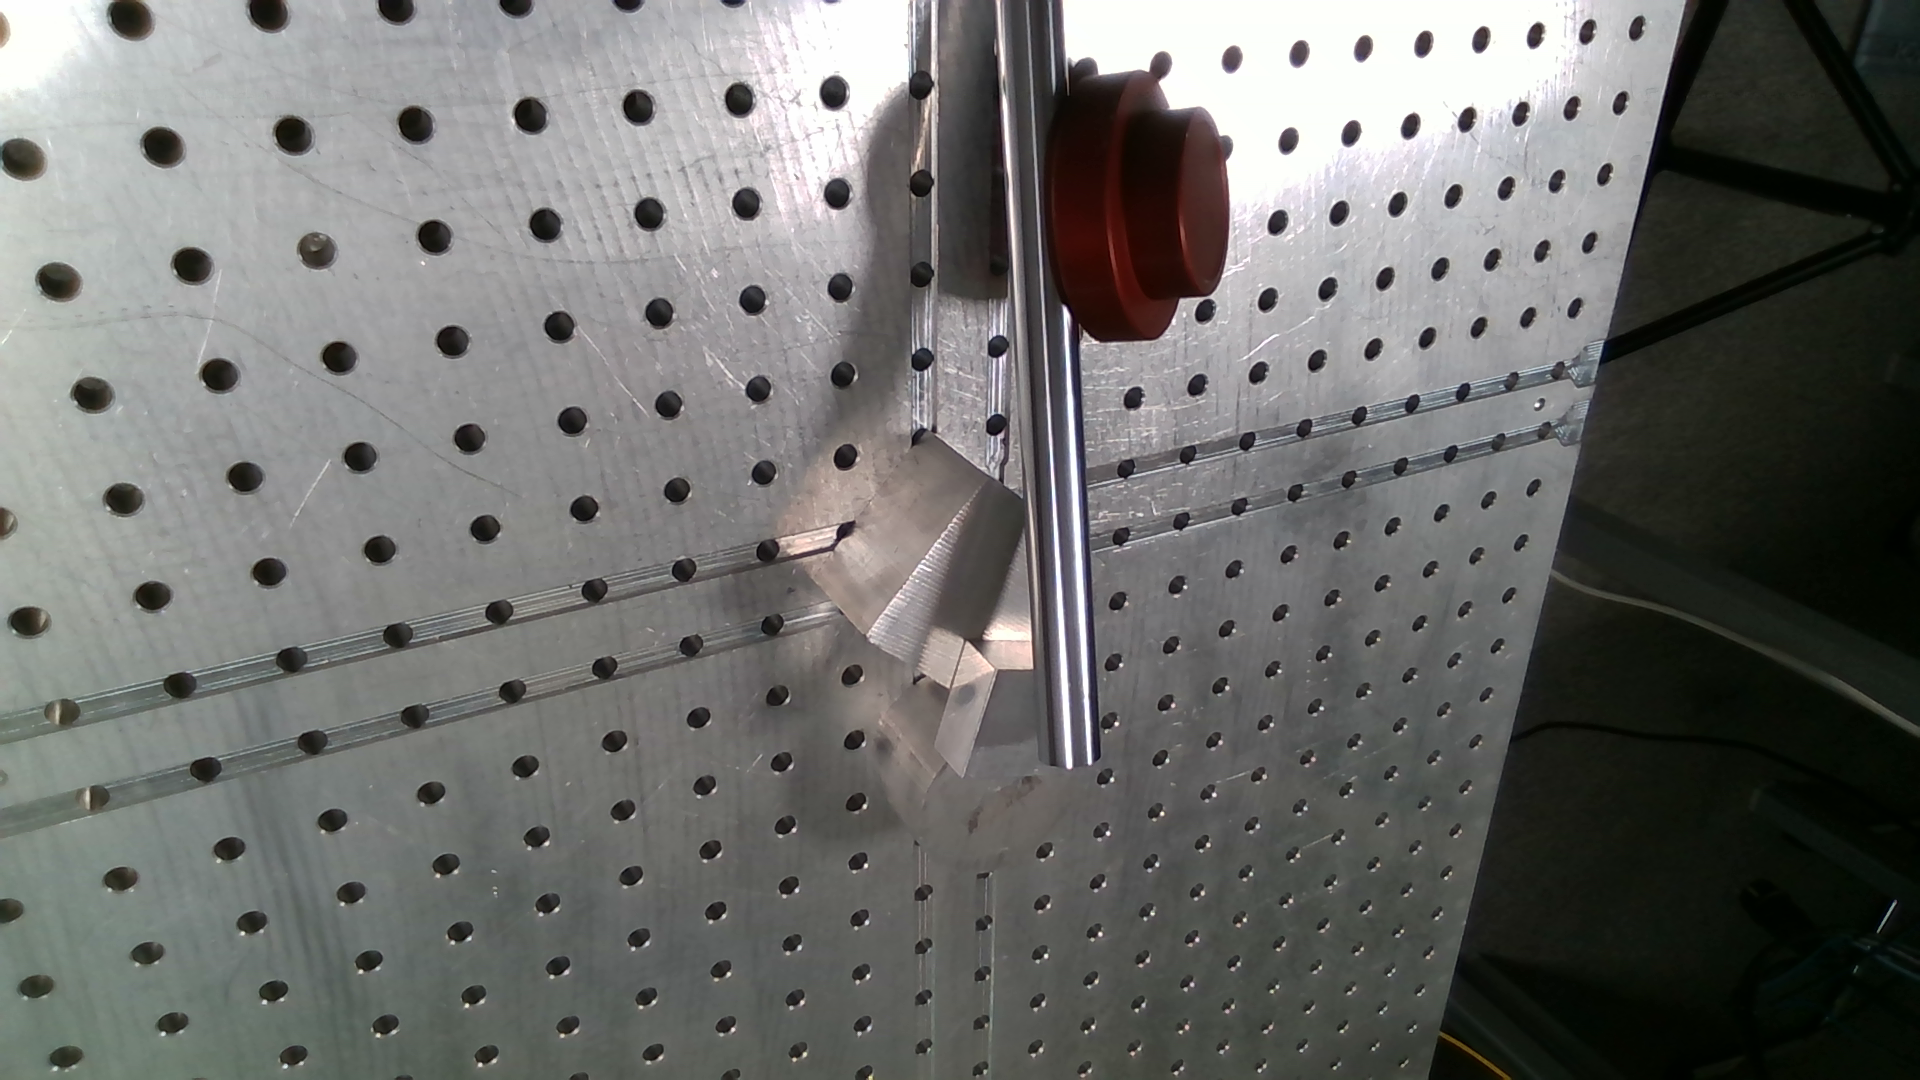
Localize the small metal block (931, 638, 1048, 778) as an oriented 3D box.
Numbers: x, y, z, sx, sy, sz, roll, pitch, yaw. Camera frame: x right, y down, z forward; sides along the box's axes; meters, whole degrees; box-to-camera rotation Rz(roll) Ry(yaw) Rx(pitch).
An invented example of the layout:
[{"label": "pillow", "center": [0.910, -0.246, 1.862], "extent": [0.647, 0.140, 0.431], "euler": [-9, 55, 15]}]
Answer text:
[{"label": "small metal block", "center": [0.022, 0.069, 0.567], "extent": [0.050, 0.025, 0.050], "euler": [5, 112, -33]}]

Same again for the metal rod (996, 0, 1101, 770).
[{"label": "metal rod", "center": [0.034, -0.061, 0.515], "extent": [0.025, 0.025, 0.300], "euler": [-10, 102, -27]}]

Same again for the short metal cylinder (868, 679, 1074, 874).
[{"label": "short metal cylinder", "center": [0.005, 0.104, 0.627], "extent": [0.080, 0.050, 0.080], "euler": [-14, 122, -25]}]

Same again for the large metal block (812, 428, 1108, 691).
[{"label": "large metal block", "center": [0.000, 0.014, 0.572], "extent": [0.080, 0.050, 0.080], "euler": [35, 94, -39]}]

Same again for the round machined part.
[{"label": "round machined part", "center": [0.072, -0.124, 0.515], "extent": [0.098, 0.042, 0.098], "euler": [1, 90, -65]}]
